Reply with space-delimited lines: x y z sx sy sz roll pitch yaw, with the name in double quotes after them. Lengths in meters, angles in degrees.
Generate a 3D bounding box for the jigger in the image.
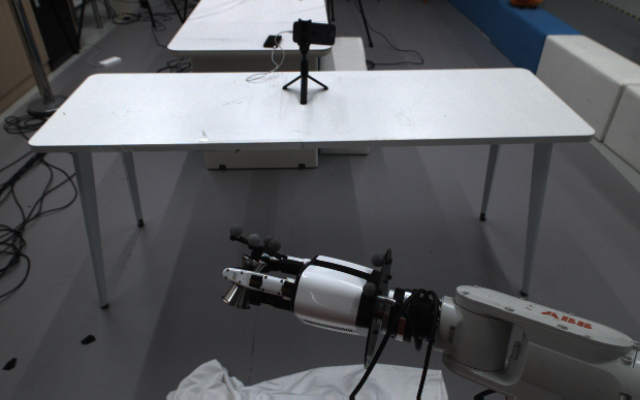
-0.106 0.112 0.675 0.043 0.071 0.043 24 -2 1 "jigger"
